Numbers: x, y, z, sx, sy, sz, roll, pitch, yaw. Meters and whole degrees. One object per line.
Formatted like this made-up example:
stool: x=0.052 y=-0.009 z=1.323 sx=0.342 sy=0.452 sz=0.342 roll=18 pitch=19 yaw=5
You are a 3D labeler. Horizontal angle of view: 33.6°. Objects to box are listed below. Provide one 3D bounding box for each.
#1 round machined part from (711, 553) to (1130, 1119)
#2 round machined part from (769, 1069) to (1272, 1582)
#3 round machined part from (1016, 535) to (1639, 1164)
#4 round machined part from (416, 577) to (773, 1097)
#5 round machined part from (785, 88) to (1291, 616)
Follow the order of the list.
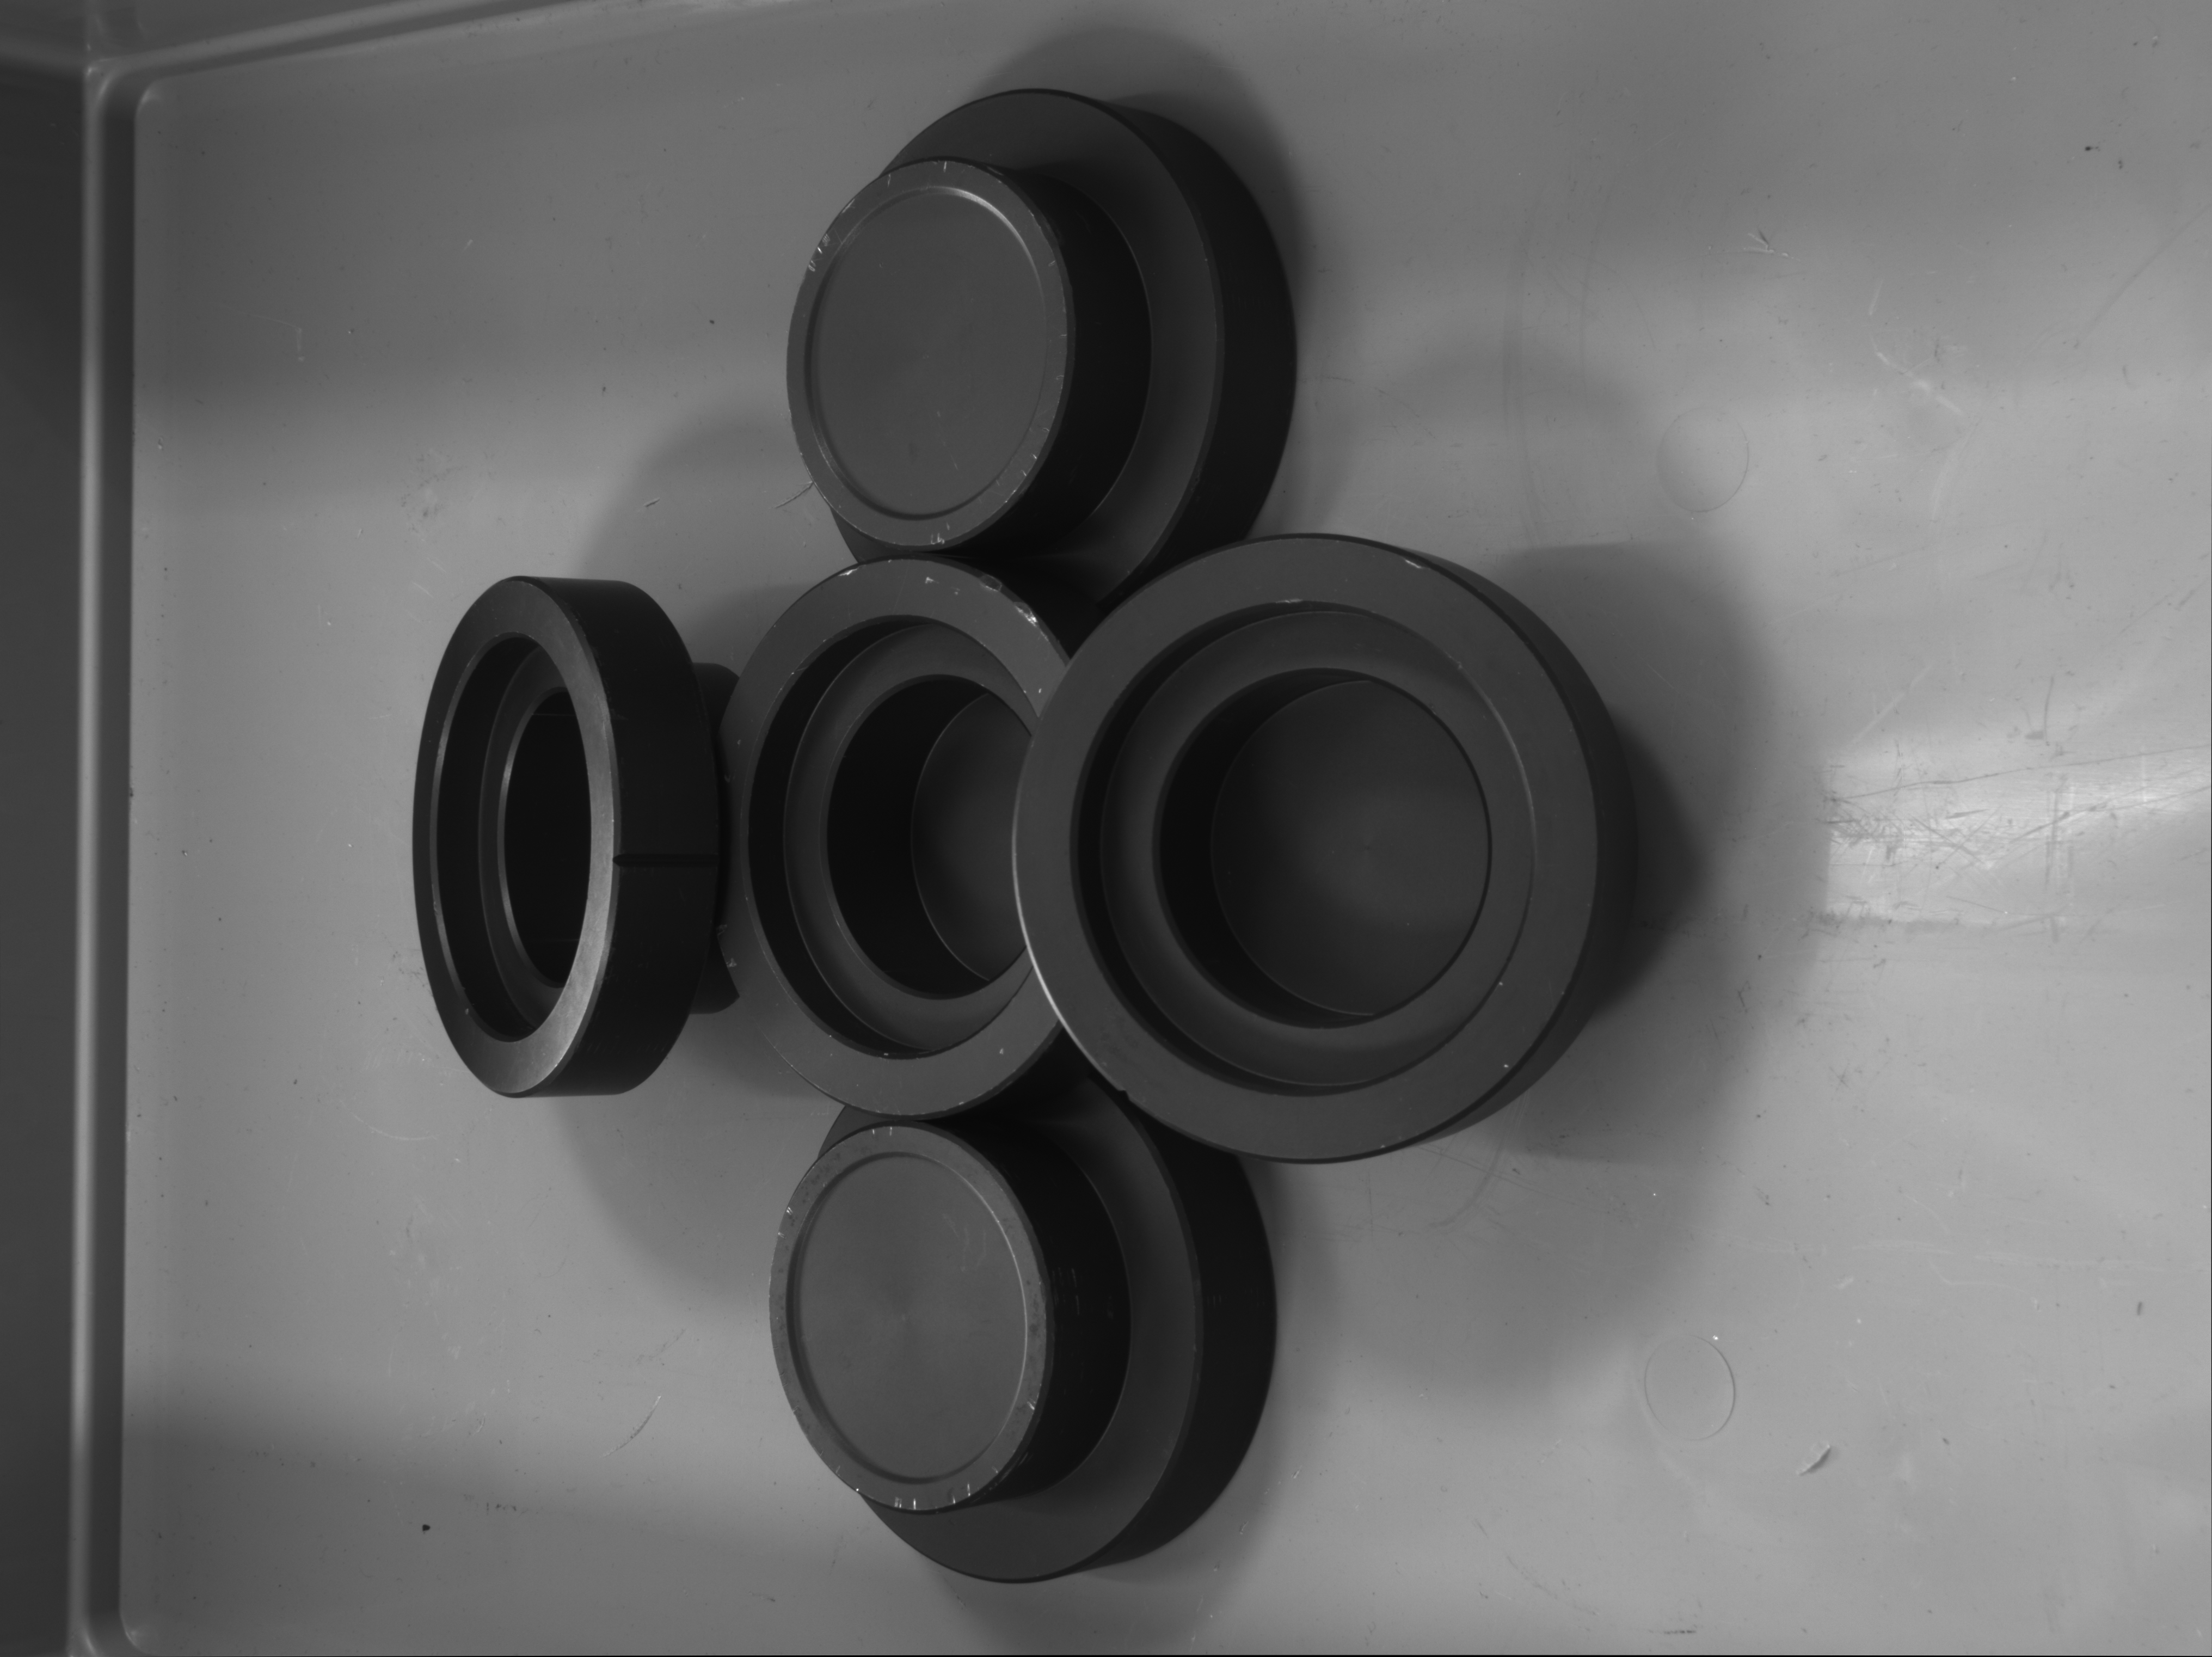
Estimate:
round machined part: x=-0.023 y=0.001 z=0.651 sx=0.098 sy=0.042 sz=0.098 roll=0 pitch=90 yaw=40
round machined part: x=-0.022 y=0.084 z=0.650 sx=0.098 sy=0.042 sz=0.098 roll=0 pitch=90 yaw=40
round machined part: x=0.038 y=0.003 z=0.589 sx=0.098 sy=0.042 sz=0.098 roll=0 pitch=90 yaw=24
round machined part: x=-0.094 y=0.002 z=0.701 sx=0.098 sy=0.042 sz=0.098 roll=-1 pitch=89 yaw=58
round machined part: x=-0.018 y=-0.082 z=0.648 sx=0.098 sy=0.042 sz=0.098 roll=0 pitch=90 yaw=40
